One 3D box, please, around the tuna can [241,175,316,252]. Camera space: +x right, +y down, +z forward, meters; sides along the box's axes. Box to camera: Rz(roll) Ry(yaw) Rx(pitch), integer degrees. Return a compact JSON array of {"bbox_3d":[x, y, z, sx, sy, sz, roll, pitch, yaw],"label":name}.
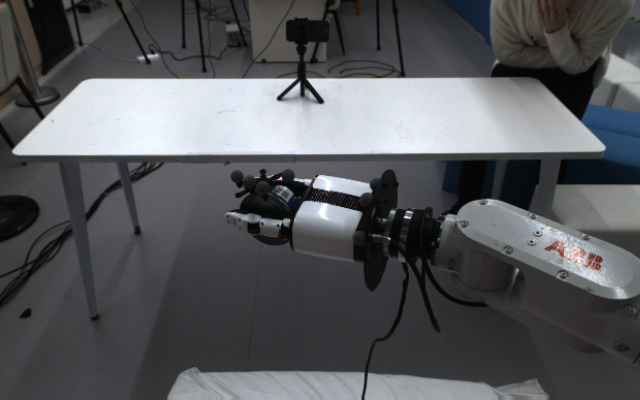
[{"bbox_3d":[-0.064,0.020,0.672,0.085,0.085,0.034,14,34,17],"label":"tuna can"}]
